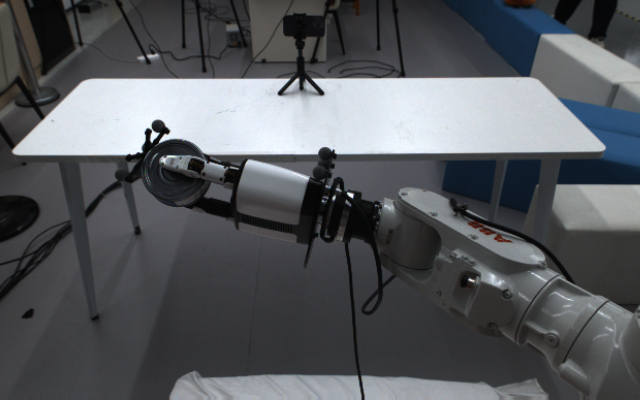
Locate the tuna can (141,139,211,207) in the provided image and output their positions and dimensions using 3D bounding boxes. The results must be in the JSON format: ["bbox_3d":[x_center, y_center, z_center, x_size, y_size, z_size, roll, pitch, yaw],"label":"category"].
[{"bbox_3d":[-0.186,-0.035,0.638,0.085,0.034,0.085,1,78,-6],"label":"tuna can"}]
